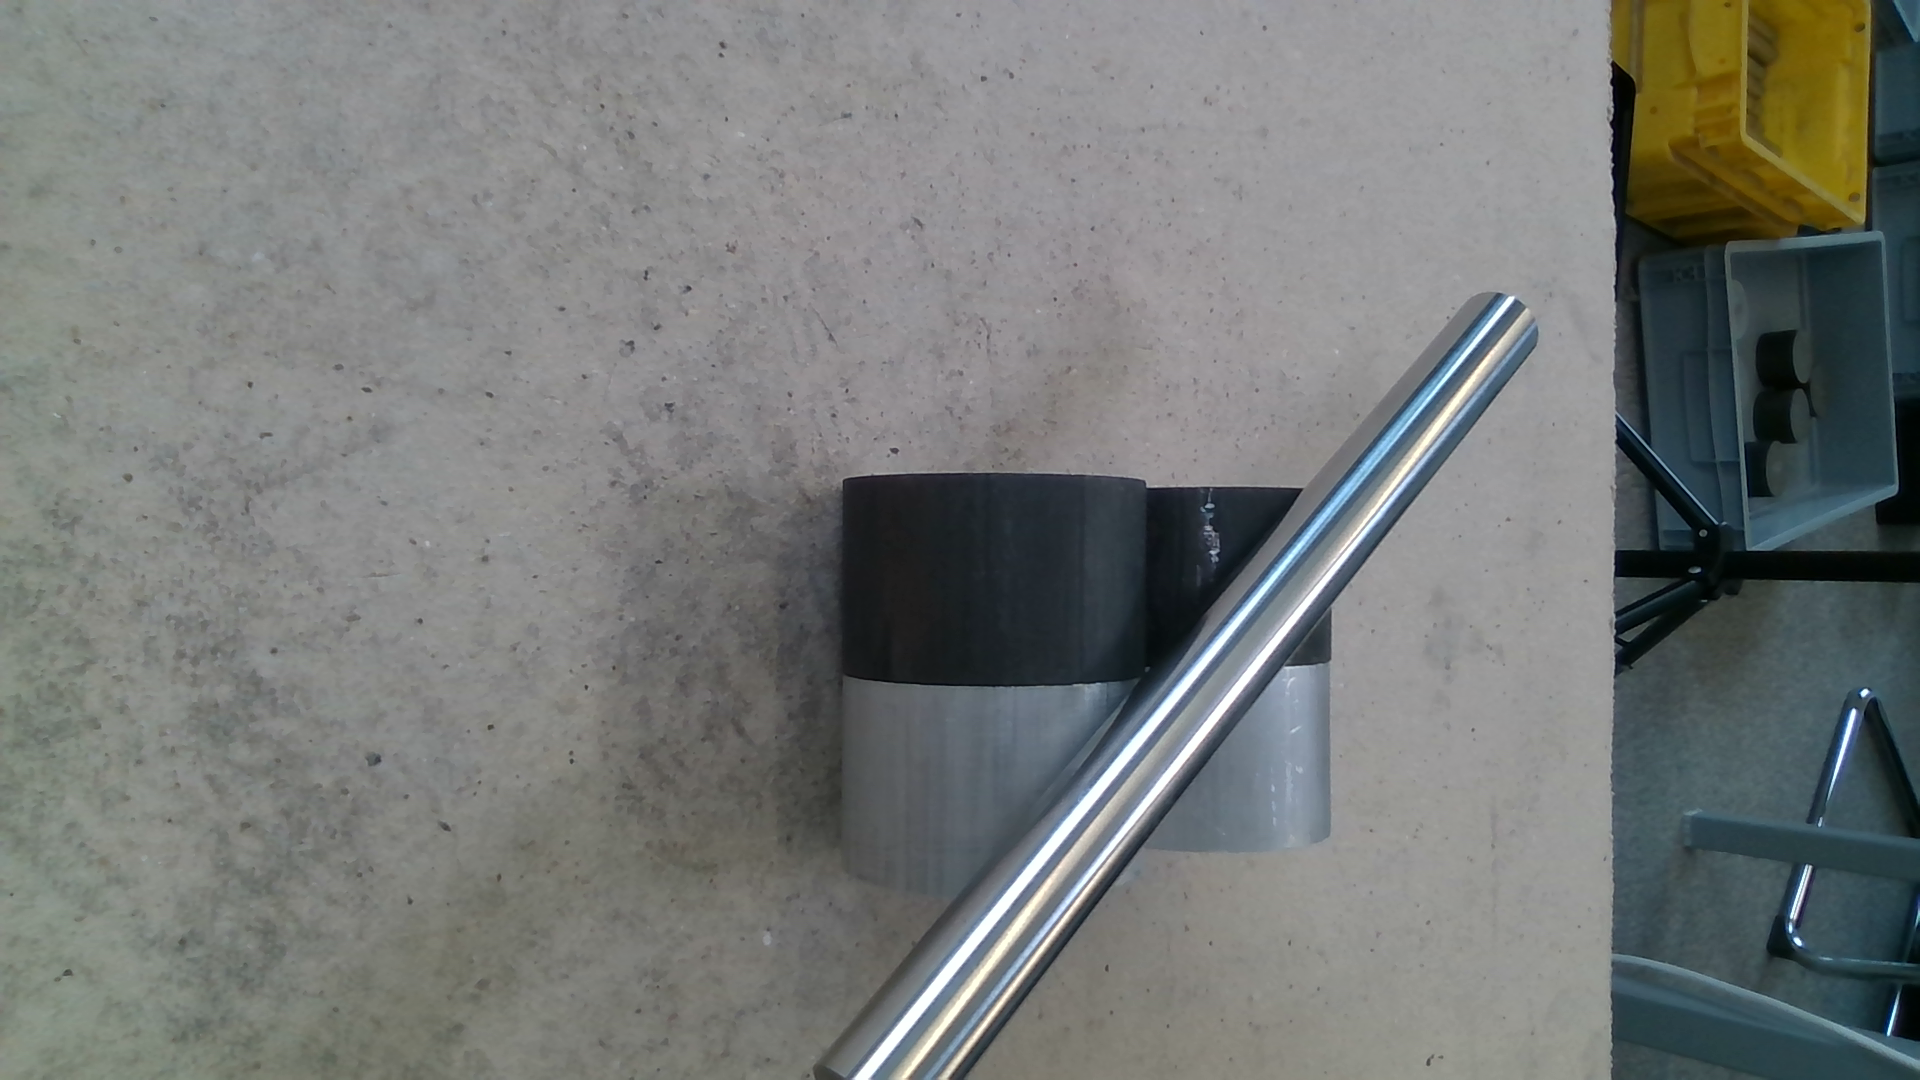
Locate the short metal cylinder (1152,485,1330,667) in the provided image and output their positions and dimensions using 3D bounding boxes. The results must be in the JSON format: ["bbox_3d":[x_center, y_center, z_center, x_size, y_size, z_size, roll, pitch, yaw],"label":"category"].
[{"bbox_3d":[0.071,0.010,0.416,0.080,0.080,0.050,1,89,-40],"label":"short metal cylinder"}]

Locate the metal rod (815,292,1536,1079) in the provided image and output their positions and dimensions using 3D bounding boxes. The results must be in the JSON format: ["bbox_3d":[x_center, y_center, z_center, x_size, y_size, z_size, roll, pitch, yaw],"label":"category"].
[{"bbox_3d":[0.073,0.023,0.349,0.299,0.025,0.025,-44,117,-31],"label":"metal rod"}]

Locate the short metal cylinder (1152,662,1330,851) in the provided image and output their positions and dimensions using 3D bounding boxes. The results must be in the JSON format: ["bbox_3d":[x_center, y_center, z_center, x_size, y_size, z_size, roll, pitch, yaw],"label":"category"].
[{"bbox_3d":[0.070,0.060,0.415,0.080,0.080,0.050,1,89,-40],"label":"short metal cylinder"}]

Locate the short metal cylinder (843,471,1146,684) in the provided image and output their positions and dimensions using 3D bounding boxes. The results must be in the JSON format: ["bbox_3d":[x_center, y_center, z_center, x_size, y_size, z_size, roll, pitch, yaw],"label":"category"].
[{"bbox_3d":[0.009,0.009,0.363,0.080,0.080,0.050,1,89,-40],"label":"short metal cylinder"}]

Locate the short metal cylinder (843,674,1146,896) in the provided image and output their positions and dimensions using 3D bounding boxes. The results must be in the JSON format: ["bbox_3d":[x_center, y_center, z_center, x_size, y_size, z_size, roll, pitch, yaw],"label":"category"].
[{"bbox_3d":[0.009,0.060,0.364,0.080,0.080,0.050,1,89,-40],"label":"short metal cylinder"}]
